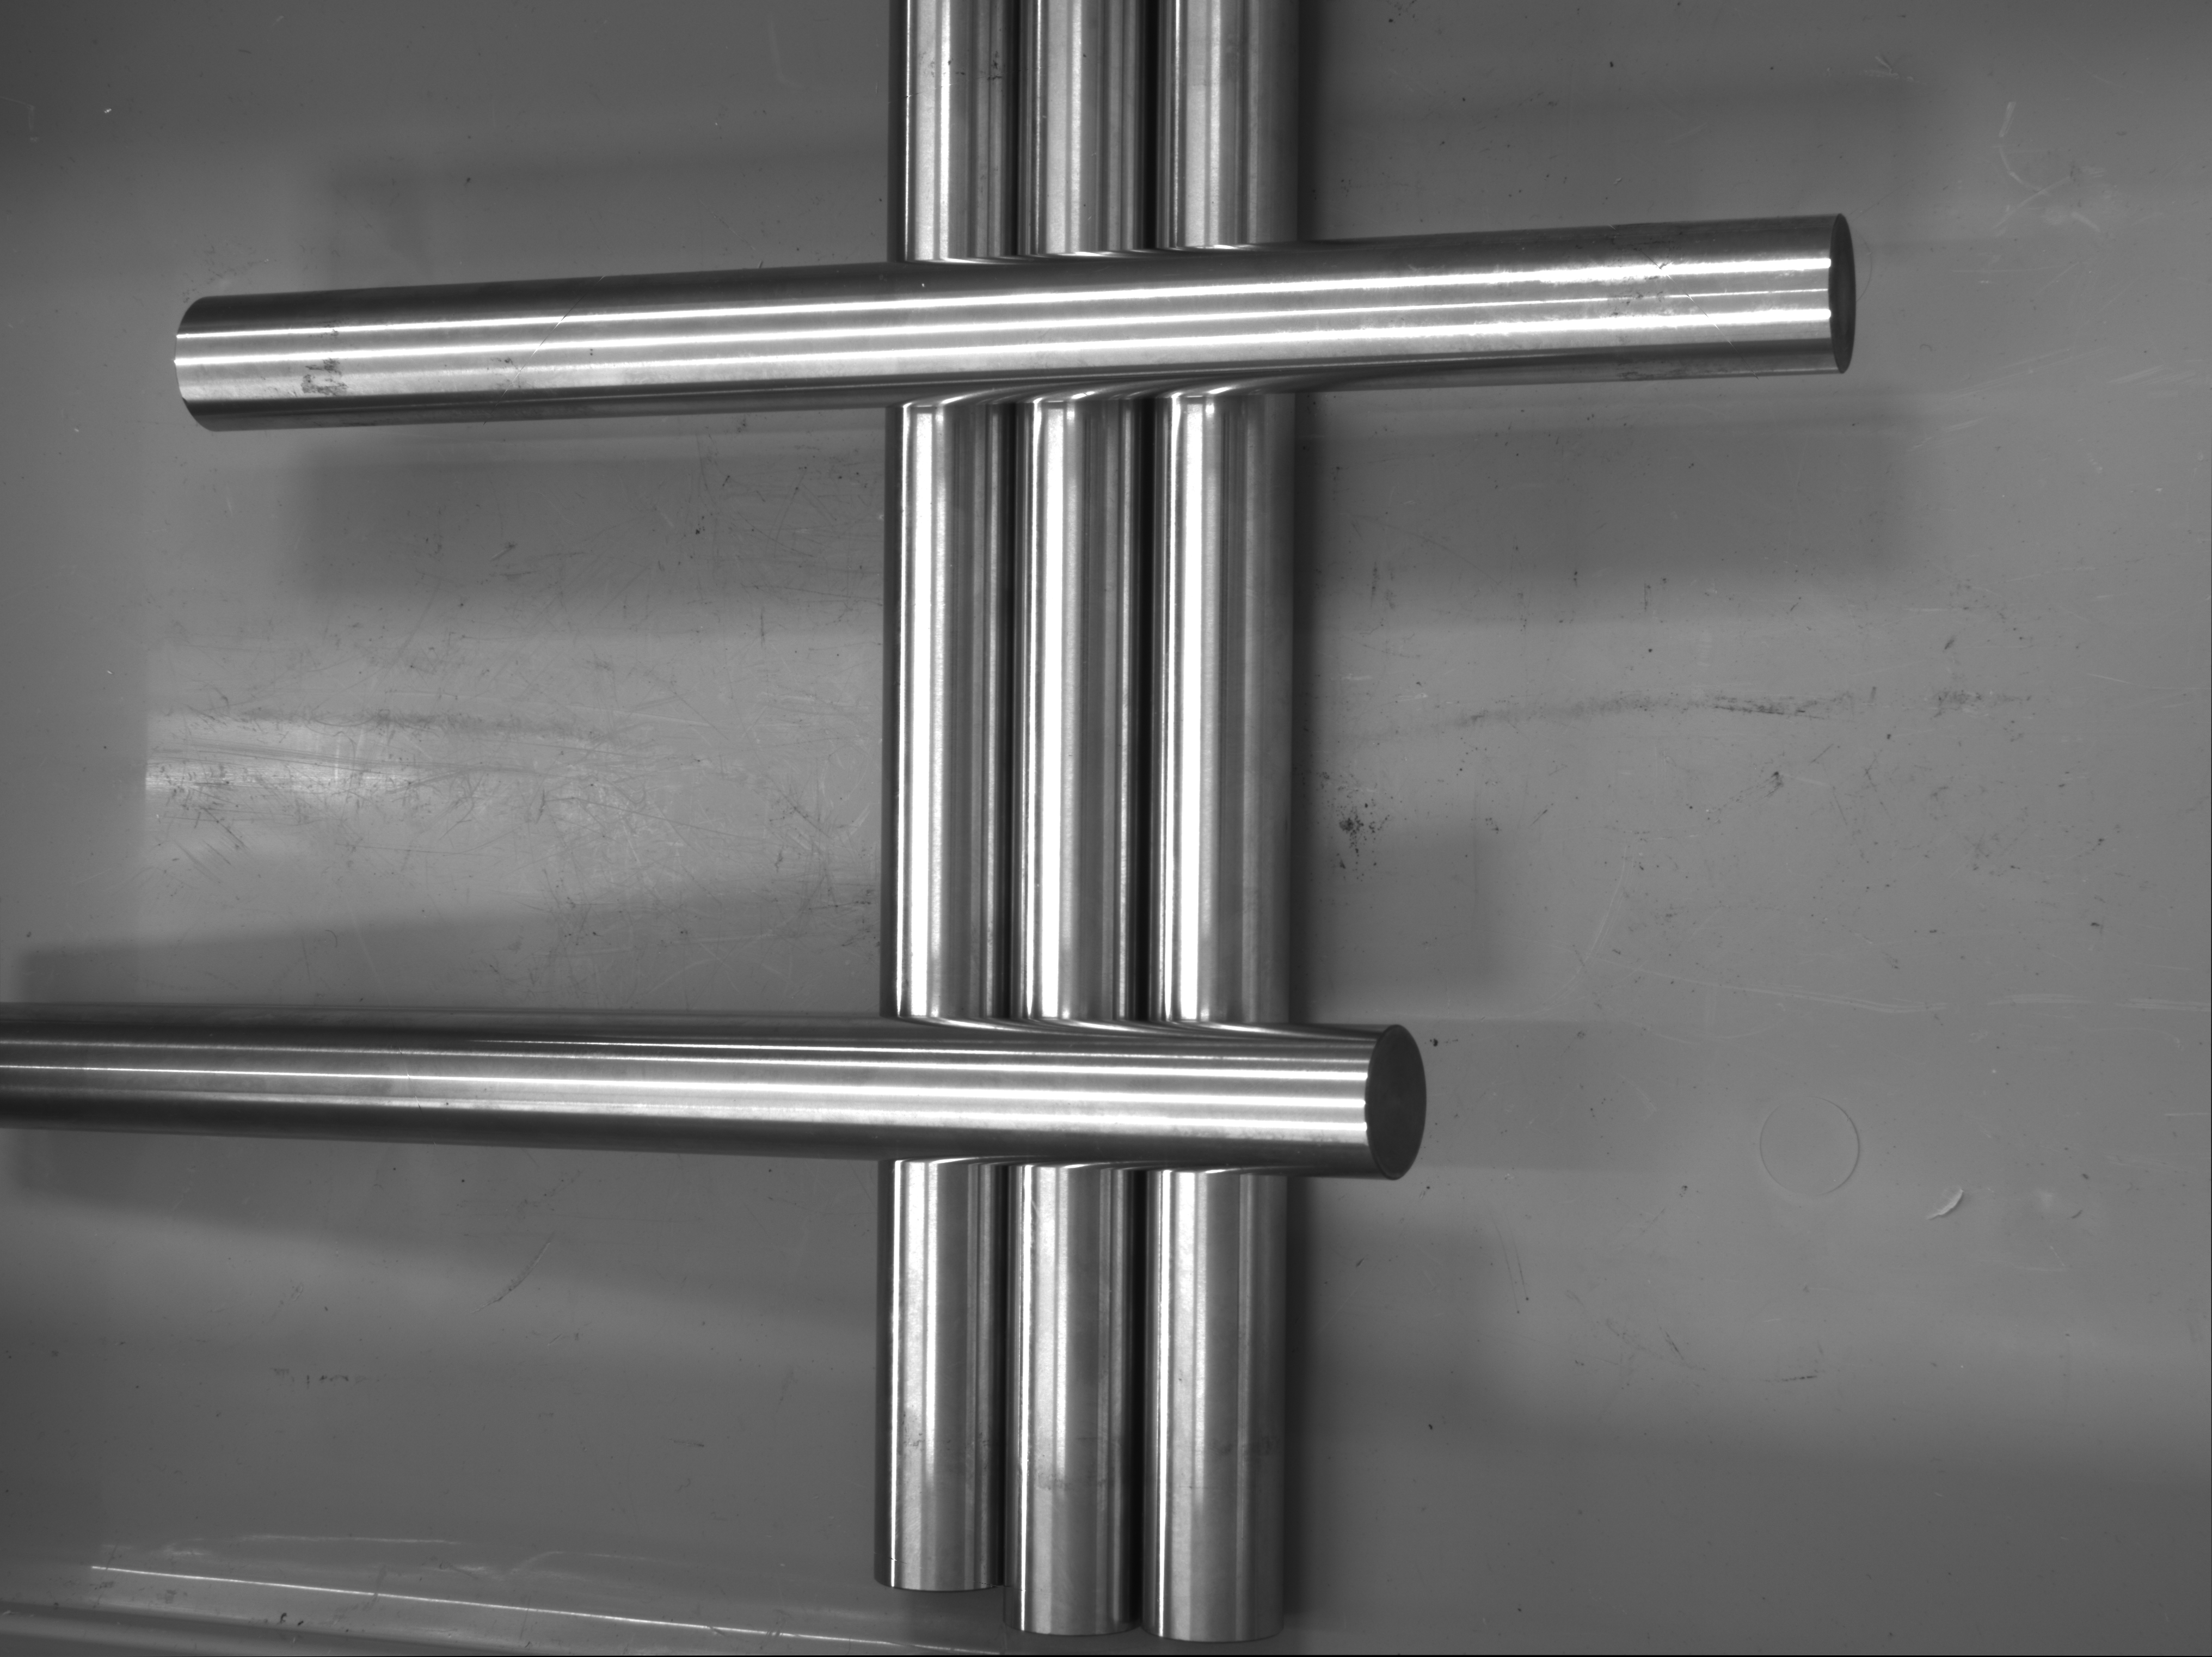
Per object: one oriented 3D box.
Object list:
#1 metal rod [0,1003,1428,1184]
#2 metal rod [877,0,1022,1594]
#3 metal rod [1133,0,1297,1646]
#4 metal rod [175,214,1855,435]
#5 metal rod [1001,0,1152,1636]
[{"bbox_3d":[-0.086,0.046,0.657,0.299,0.025,0.025,-1,90,27],"label":"metal rod"},{"bbox_3d":[-0.027,-0.016,0.656,0.025,0.025,0.300,1,90,20],"label":"metal rod"},{"bbox_3d":[0.019,-0.011,0.638,0.025,0.025,0.300,1,90,20],"label":"metal rod"},{"bbox_3d":[-0.025,-0.085,0.628,0.299,0.025,0.025,0,90,20],"label":"metal rod"},{"bbox_3d":[-0.004,-0.010,0.647,0.025,0.025,0.300,1,90,20],"label":"metal rod"}]
